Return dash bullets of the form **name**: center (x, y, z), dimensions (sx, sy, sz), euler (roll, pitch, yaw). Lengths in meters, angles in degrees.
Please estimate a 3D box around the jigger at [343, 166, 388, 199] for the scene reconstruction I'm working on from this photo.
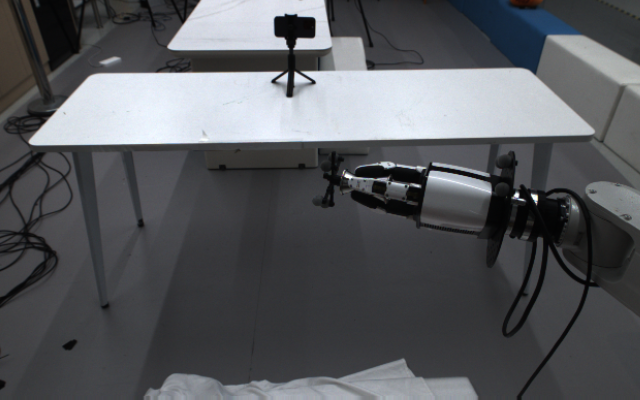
- **jigger**: center (0.072, -0.024, 0.697), dimensions (0.071, 0.043, 0.043), euler (10, 35, 16)
